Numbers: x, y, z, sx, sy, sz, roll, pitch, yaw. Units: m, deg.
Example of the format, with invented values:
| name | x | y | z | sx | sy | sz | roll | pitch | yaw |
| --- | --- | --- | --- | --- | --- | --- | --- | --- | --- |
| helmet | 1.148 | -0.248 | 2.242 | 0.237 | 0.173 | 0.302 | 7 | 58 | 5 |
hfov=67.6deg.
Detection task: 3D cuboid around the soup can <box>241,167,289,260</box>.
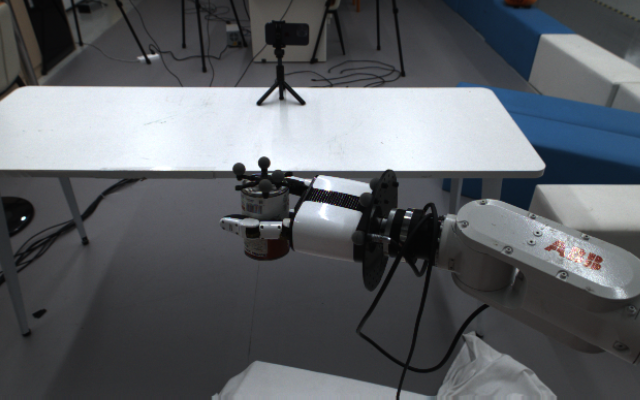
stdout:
| name | x | y | z | sx | sy | sz | roll | pitch | yaw |
| --- | --- | --- | --- | --- | --- | --- | --- | --- | --- |
| soup can | -0.075 | 0.026 | 0.677 | 0.067 | 0.101 | 0.067 | 1 | 25 | 0 |
